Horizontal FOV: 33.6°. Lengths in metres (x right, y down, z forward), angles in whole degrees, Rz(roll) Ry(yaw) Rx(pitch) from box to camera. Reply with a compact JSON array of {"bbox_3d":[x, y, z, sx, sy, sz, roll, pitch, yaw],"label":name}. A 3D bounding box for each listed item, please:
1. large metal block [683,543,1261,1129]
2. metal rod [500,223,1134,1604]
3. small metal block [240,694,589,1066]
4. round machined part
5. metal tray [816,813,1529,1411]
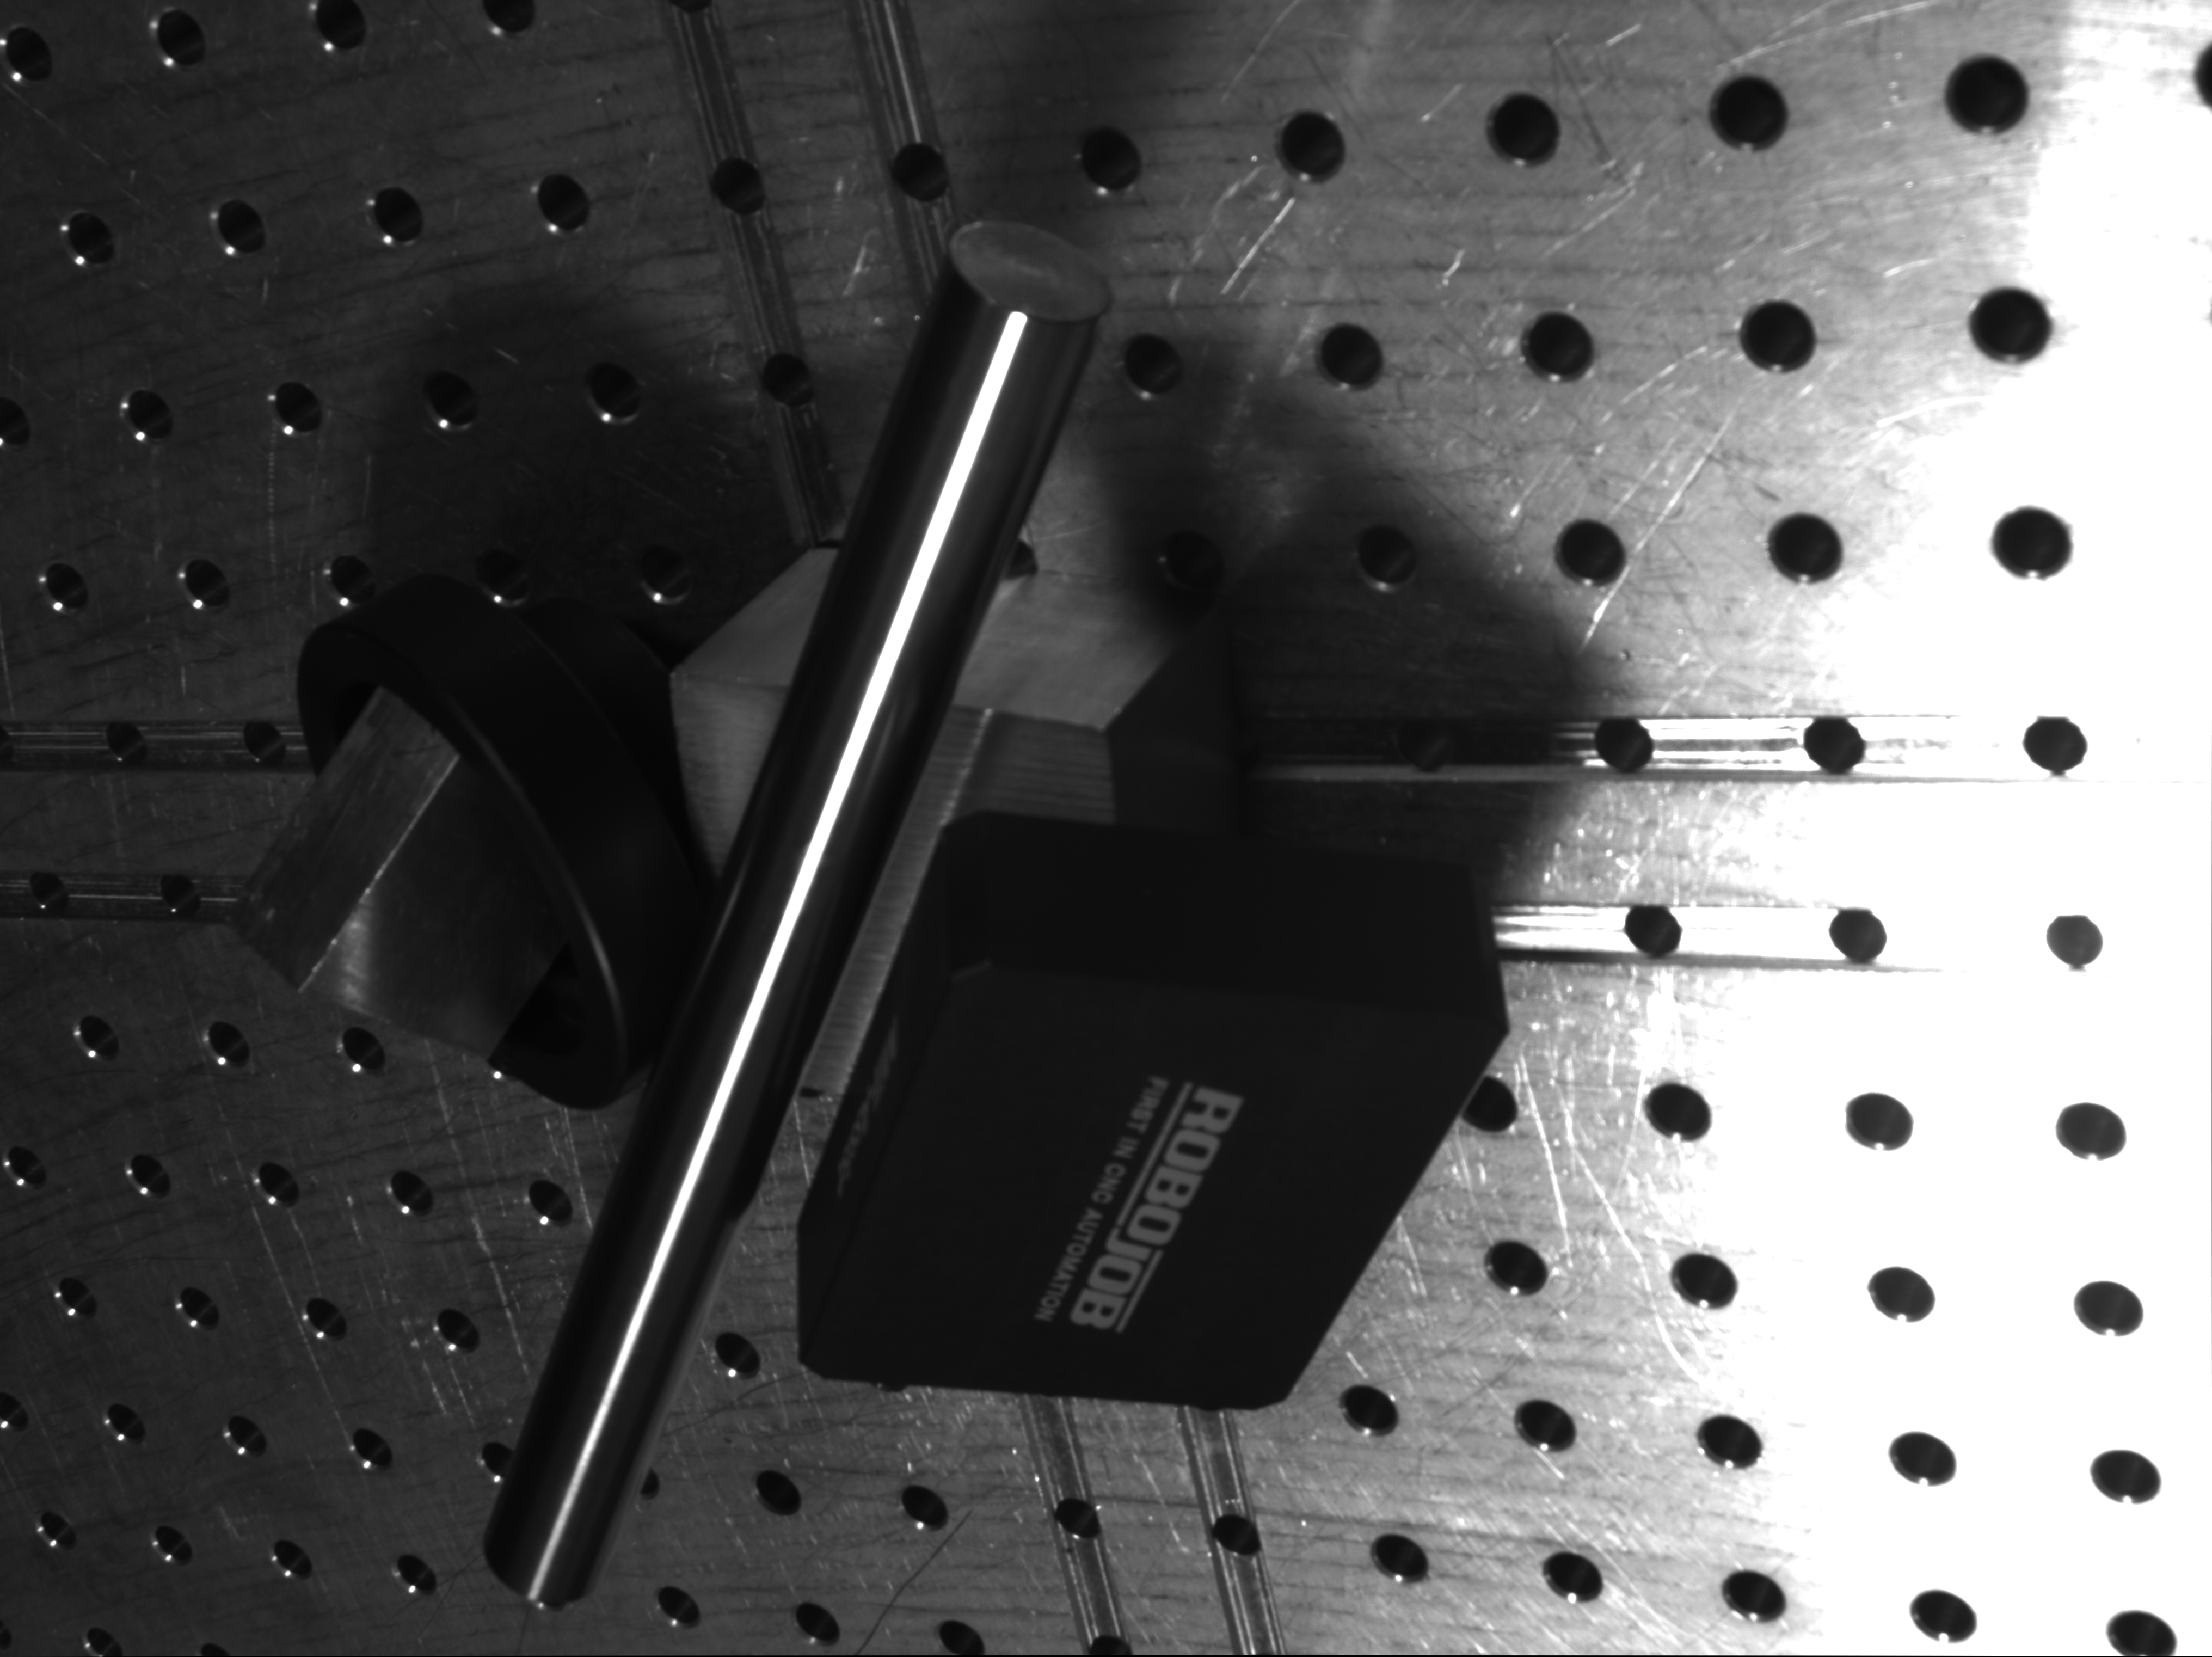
[{"bbox_3d":[-0.020,0.002,0.629,0.080,0.050,0.080,8,122,22],"label":"large metal block"},{"bbox_3d":[-0.056,0.030,0.616,0.025,0.025,0.300,30,127,8],"label":"metal rod"},{"bbox_3d":[-0.115,0.009,0.646,0.025,0.050,0.050,37,94,35],"label":"small metal block"},{"bbox_3d":[-0.096,-0.001,0.654,0.098,0.042,0.098,36,144,32],"label":"round machined part"},{"bbox_3d":[0.007,0.052,0.616,0.090,0.030,0.130,6,142,-14],"label":"metal tray"}]
